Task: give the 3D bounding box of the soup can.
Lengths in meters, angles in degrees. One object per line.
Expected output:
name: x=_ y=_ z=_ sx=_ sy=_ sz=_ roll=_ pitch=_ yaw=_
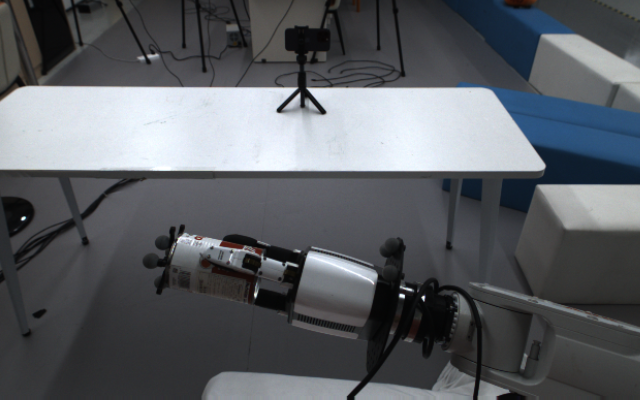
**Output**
soup can: x=-0.117 y=0.081 z=0.567 sx=0.101 sy=0.067 sz=0.067 roll=12 pitch=35 yaw=-1
